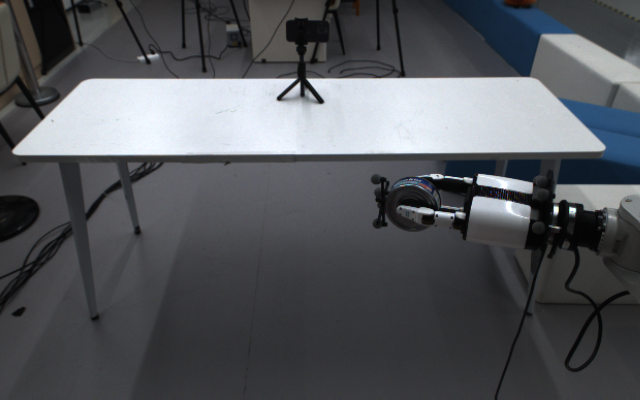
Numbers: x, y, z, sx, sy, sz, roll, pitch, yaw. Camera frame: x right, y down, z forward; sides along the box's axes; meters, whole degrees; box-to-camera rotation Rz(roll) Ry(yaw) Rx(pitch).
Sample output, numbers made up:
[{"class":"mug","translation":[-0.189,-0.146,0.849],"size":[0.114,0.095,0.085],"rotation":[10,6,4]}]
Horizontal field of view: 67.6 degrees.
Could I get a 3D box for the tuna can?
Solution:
[{"class":"tuna can","translation":[0.150,0.008,0.772],"size":[0.085,0.085,0.034],"rotation":[12,27,15]}]
